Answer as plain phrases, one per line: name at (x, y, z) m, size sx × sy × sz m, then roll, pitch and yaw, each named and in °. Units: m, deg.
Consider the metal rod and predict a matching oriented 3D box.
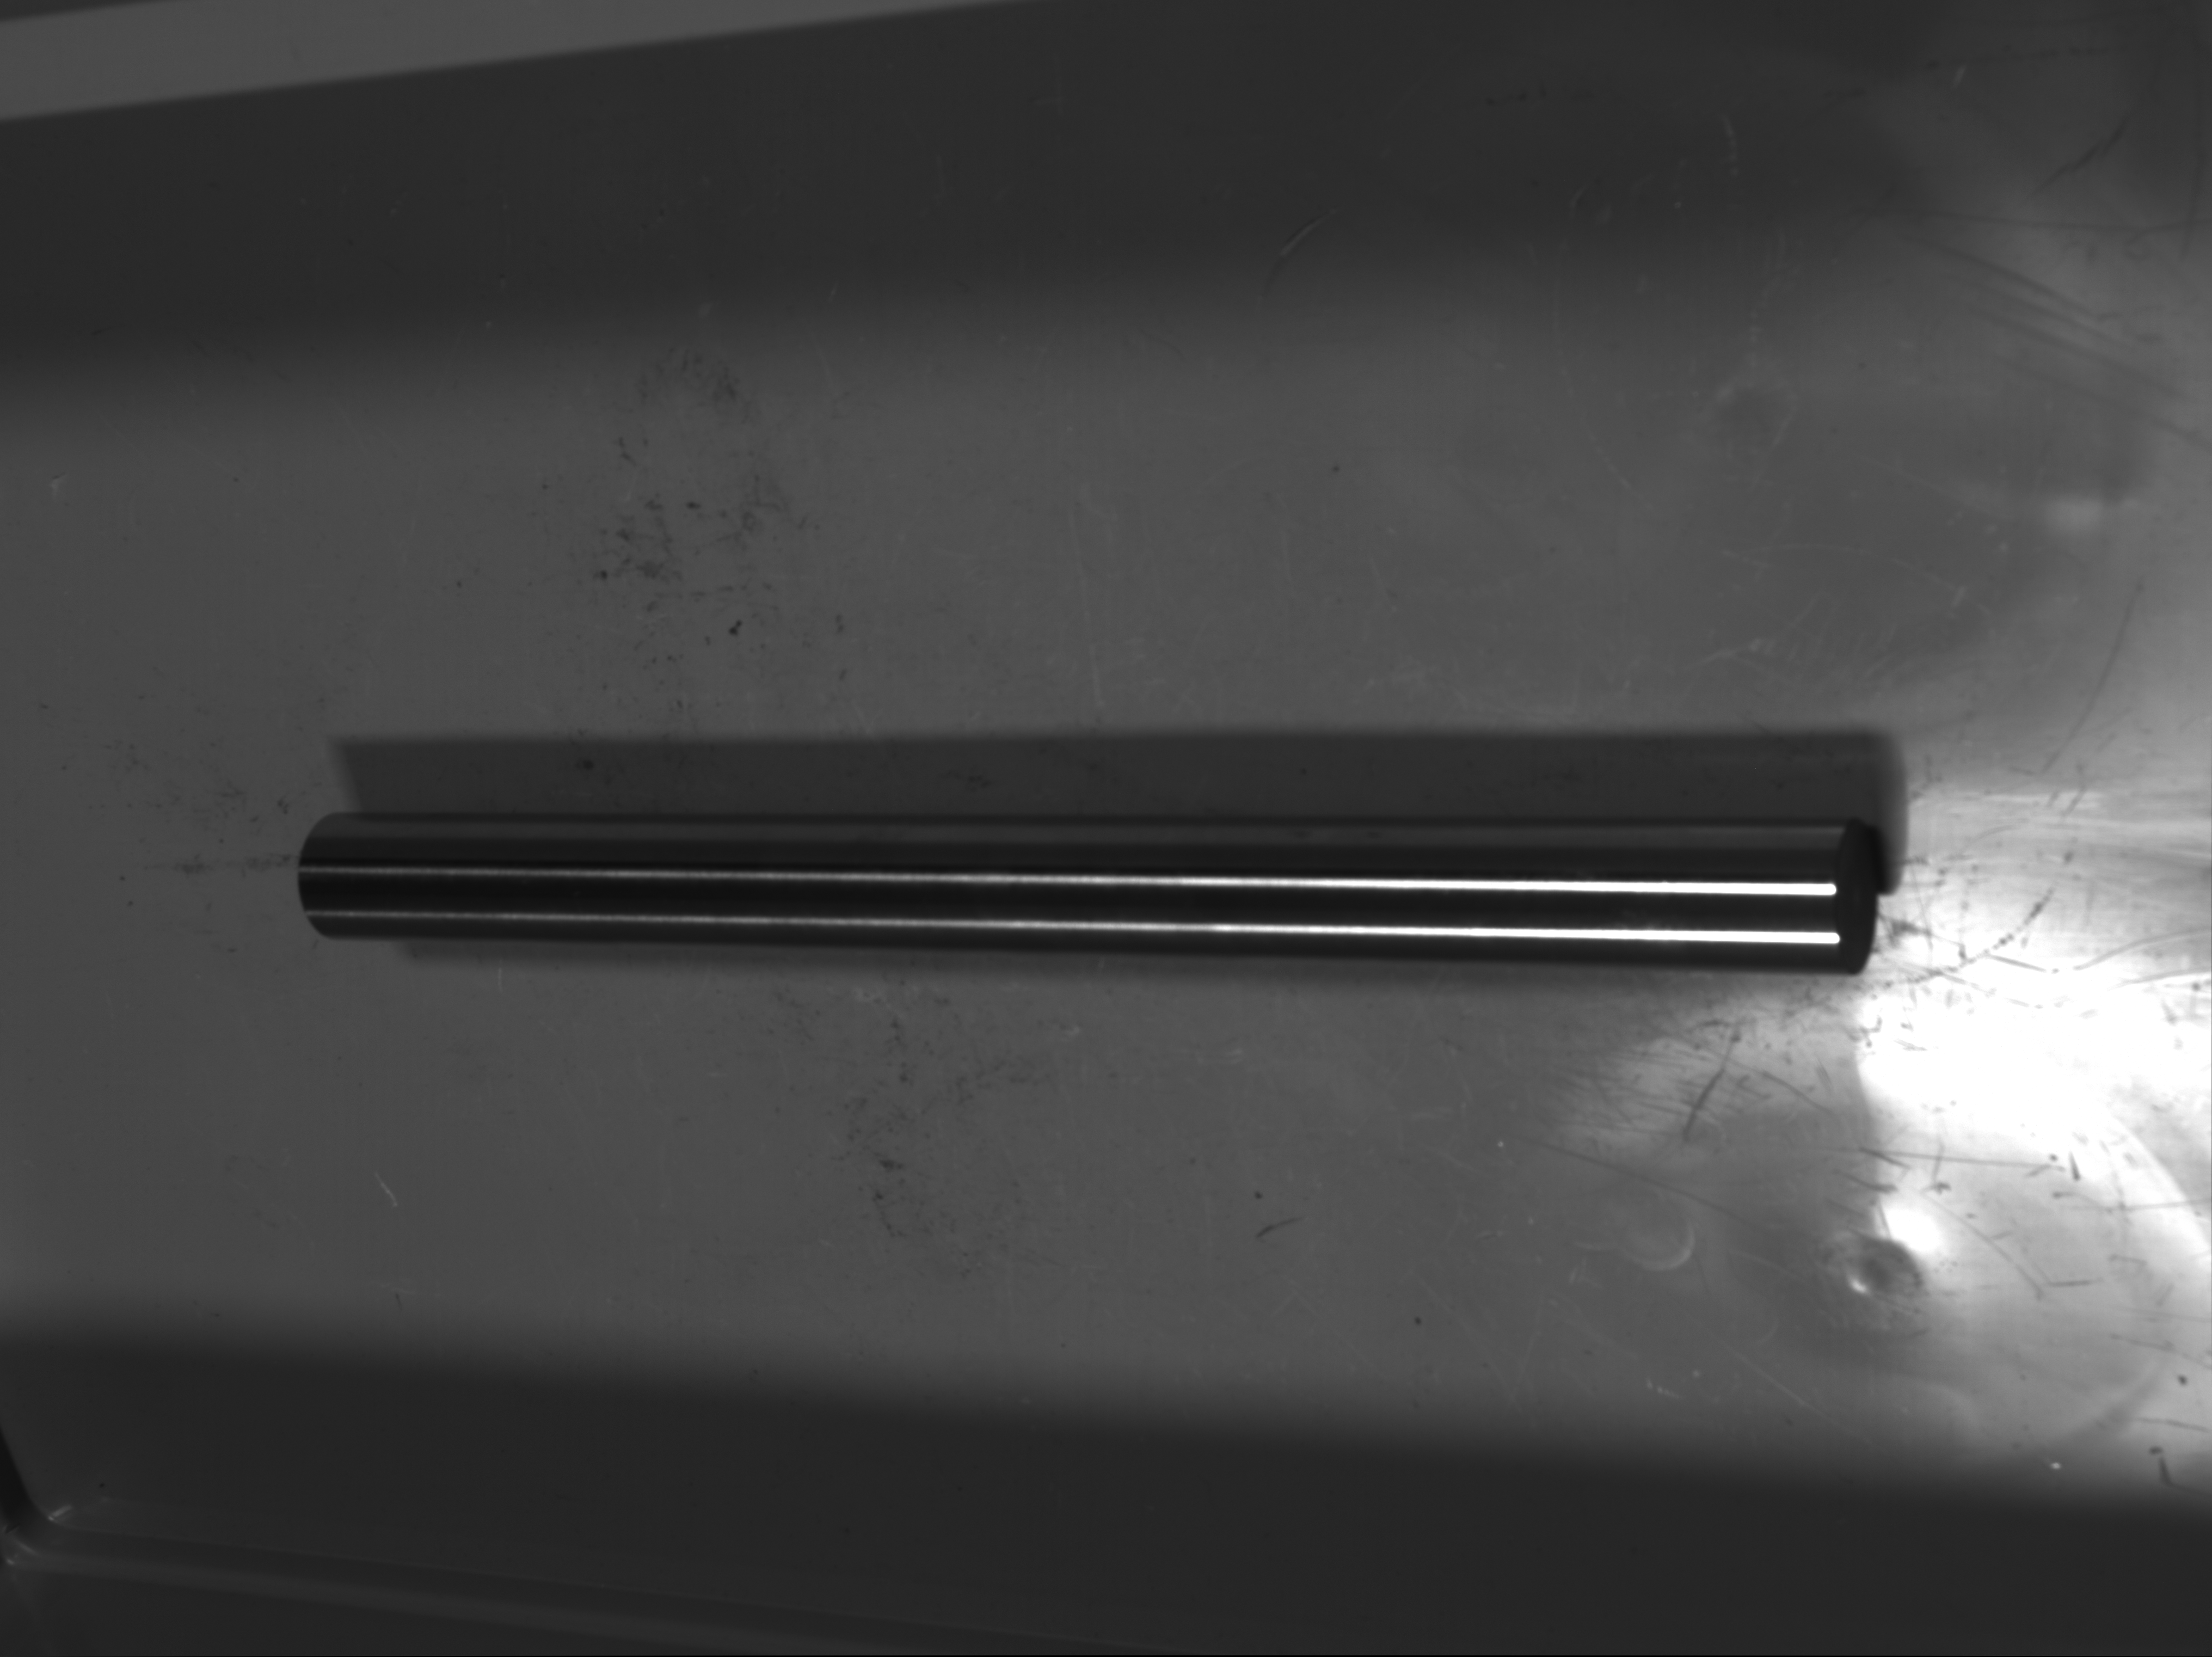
metal rod at (-0.018, 0.010, 0.644) m, size 0.299 × 0.025 × 0.025 m, roll 0°, pitch 118°, yaw 26°
